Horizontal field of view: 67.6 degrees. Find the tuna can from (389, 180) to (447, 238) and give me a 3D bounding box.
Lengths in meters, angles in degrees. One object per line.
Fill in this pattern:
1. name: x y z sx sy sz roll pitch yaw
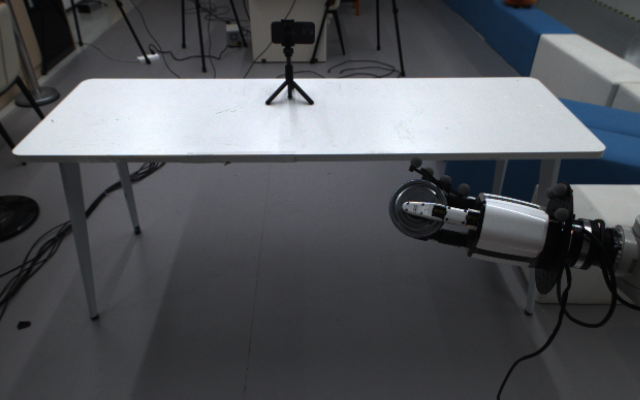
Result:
1. tuna can: 0.149 0.019 0.712 0.085 0.085 0.034 12 -4 15
